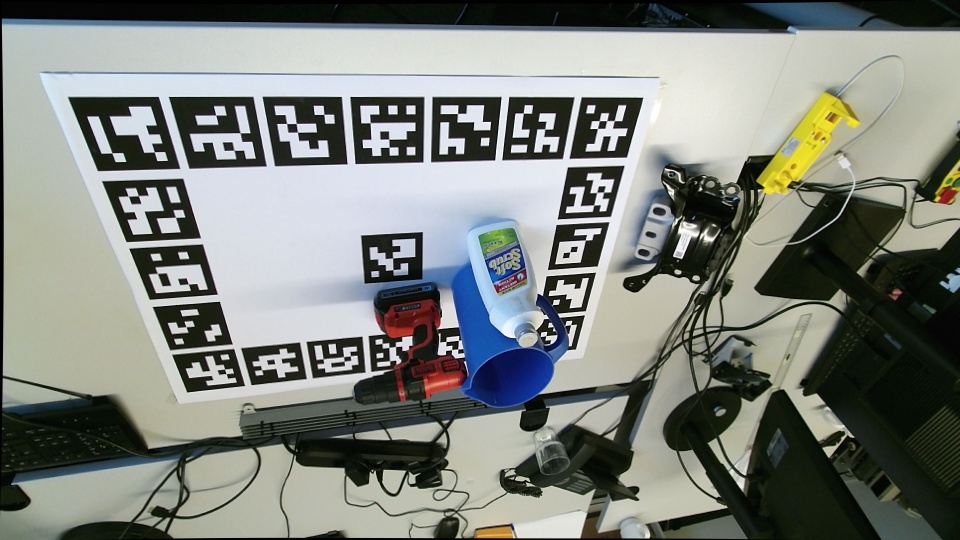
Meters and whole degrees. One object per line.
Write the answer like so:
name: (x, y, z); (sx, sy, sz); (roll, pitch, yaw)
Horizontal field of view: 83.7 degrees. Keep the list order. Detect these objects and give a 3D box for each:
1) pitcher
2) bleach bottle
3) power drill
pitcher: (0.047, 0.121, 0.907); (0.189, 0.241, 0.133); (-26, 126, 3)
bleach bottle: (0.069, 0.048, 0.835); (0.103, 0.249, 0.068); (-11, 127, -9)
power drill: (-0.120, 0.143, 0.888); (0.185, 0.186, 0.057); (-6, 123, -5)
